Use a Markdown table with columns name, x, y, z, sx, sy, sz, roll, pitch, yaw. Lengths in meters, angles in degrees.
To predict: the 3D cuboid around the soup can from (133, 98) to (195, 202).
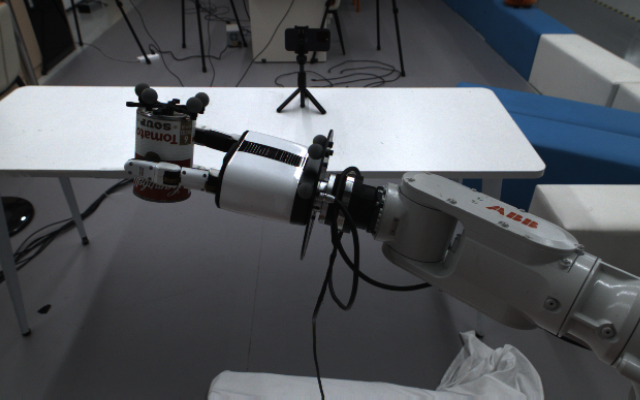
| name | x | y | z | sx | sy | sz | roll | pitch | yaw |
| --- | --- | --- | --- | --- | --- | --- | --- | --- | --- |
| soup can | -0.183 | -0.055 | 0.574 | 0.067 | 0.101 | 0.067 | 9 | 20 | -3 |
